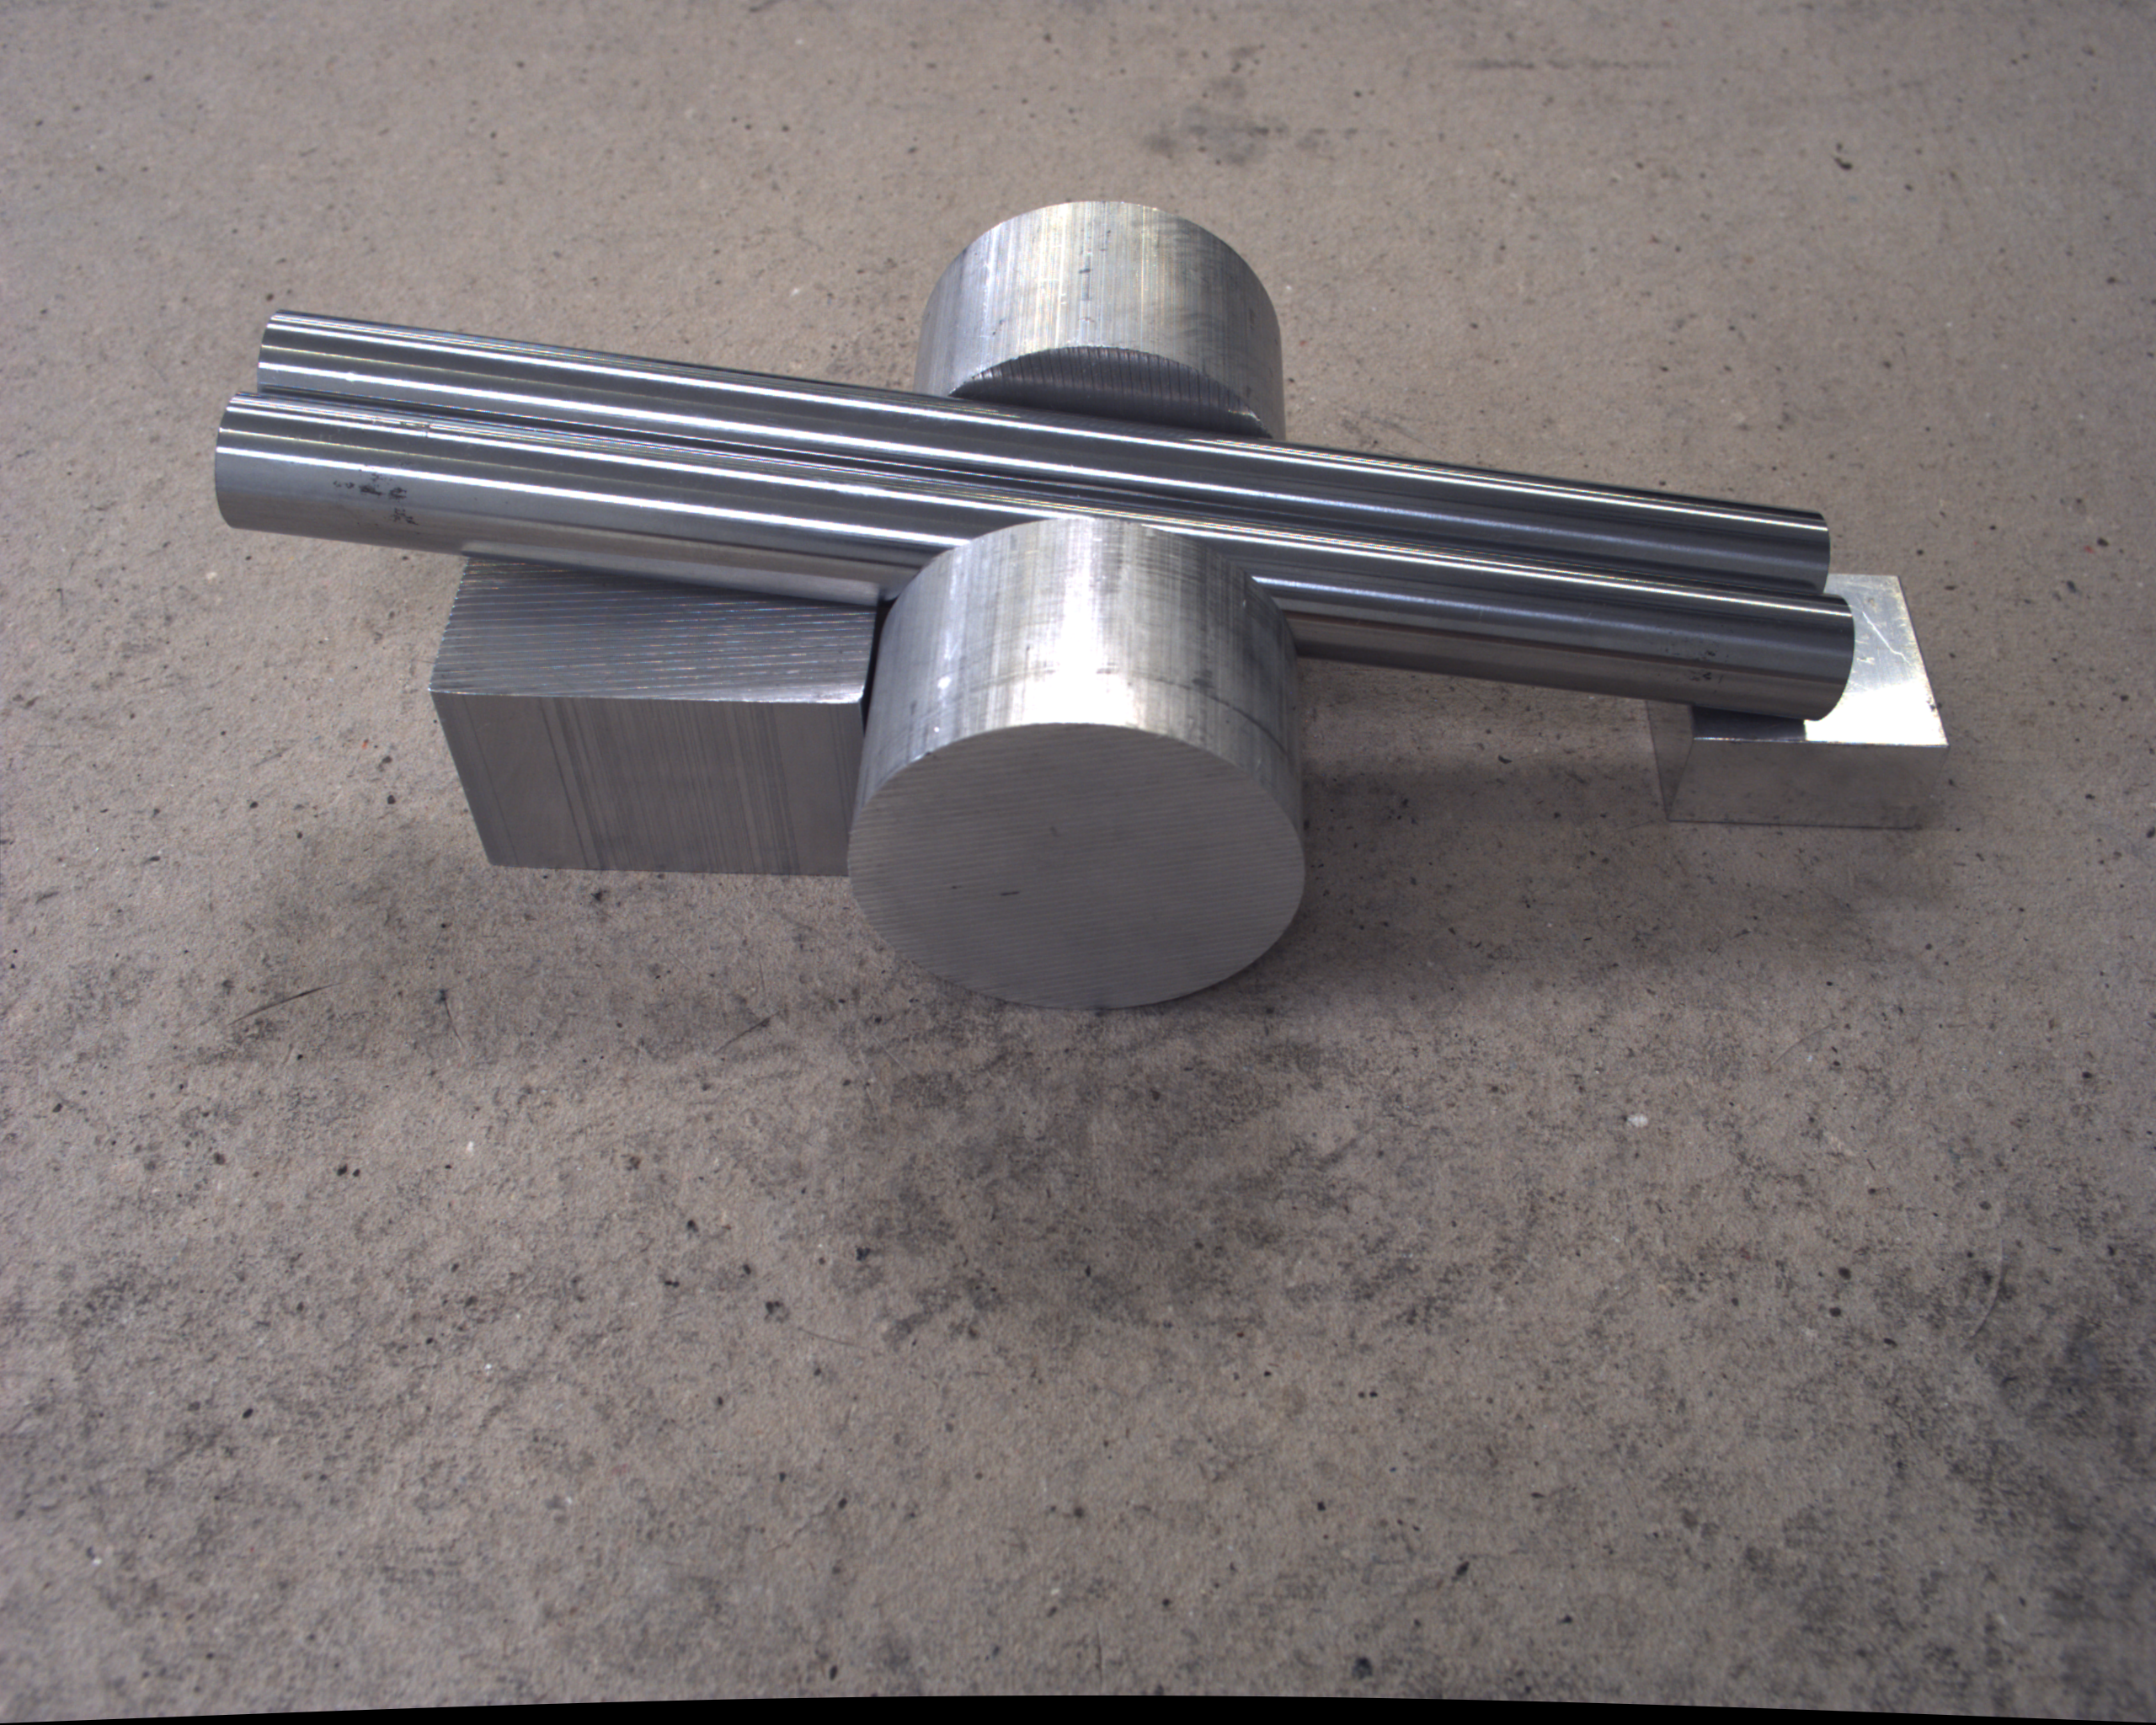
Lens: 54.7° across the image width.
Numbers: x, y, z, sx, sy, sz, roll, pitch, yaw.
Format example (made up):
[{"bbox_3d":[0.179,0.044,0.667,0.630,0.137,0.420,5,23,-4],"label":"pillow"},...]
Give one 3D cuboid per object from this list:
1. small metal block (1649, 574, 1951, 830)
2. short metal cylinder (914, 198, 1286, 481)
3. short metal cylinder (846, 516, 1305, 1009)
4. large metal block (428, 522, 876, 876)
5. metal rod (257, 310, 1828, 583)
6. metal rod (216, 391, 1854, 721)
[{"bbox_3d":[0.147,-0.035,0.435,0.050,0.025,0.050,2,50,2],"label":"small metal block"},{"bbox_3d":[0.004,-0.093,0.448,0.080,0.080,0.050,1,50,1],"label":"short metal cylinder"},{"bbox_3d":[0.000,-0.017,0.383,0.080,0.080,0.050,1,50,1],"label":"short metal cylinder"},{"bbox_3d":[-0.077,-0.044,0.426,0.080,0.050,0.080,2,50,1],"label":"large metal block"},{"bbox_3d":[-0.003,-0.076,0.410,0.302,0.025,0.025,6,50,-5],"label":"metal rod"},{"bbox_3d":[-0.004,-0.057,0.394,0.302,0.025,0.025,6,50,-5],"label":"metal rod"}]
